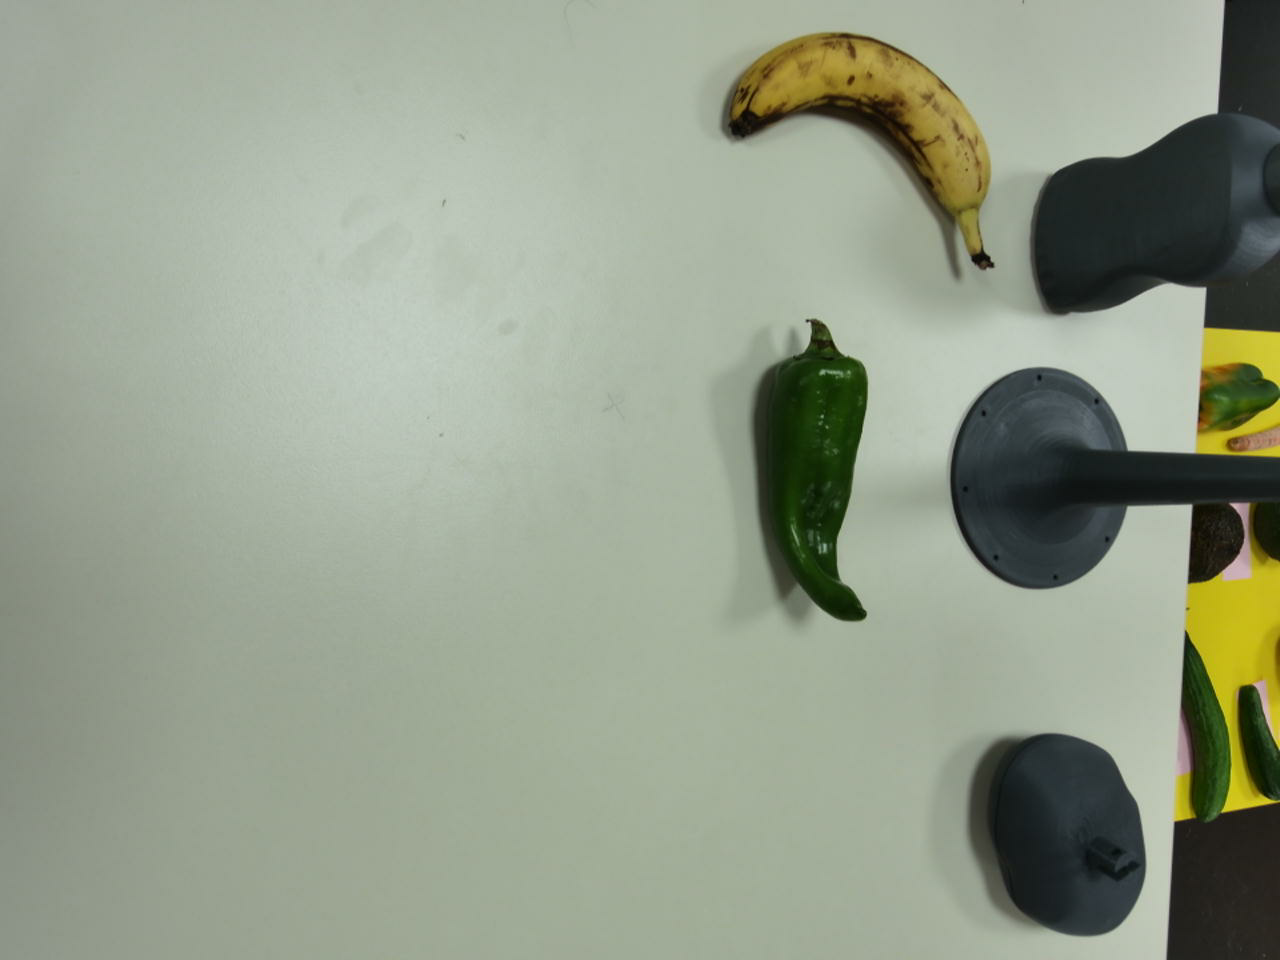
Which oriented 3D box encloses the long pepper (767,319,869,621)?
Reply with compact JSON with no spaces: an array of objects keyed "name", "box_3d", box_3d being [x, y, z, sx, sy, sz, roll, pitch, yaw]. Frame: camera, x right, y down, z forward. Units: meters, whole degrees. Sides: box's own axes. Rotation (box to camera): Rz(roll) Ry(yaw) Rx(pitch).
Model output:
[{"name":"long pepper","box_3d":[0.105,-0.008,0.579,0.058,0.065,0.175,3,89,-22]}]
